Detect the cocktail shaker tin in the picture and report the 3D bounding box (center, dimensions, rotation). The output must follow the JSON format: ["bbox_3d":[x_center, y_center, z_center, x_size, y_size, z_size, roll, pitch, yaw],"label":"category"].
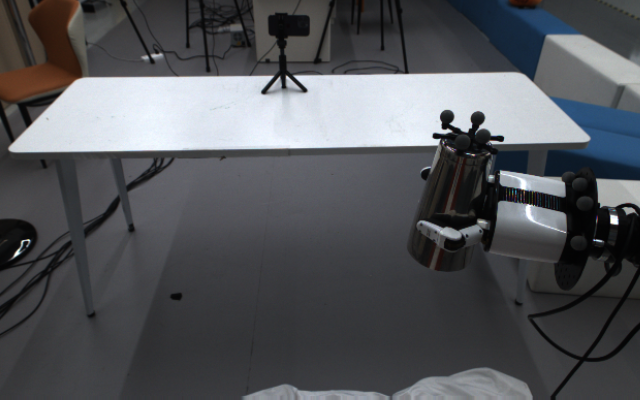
[{"bbox_3d":[0.177,-0.002,0.642,0.093,0.170,0.093,3,34,-2],"label":"cocktail shaker tin"}]
